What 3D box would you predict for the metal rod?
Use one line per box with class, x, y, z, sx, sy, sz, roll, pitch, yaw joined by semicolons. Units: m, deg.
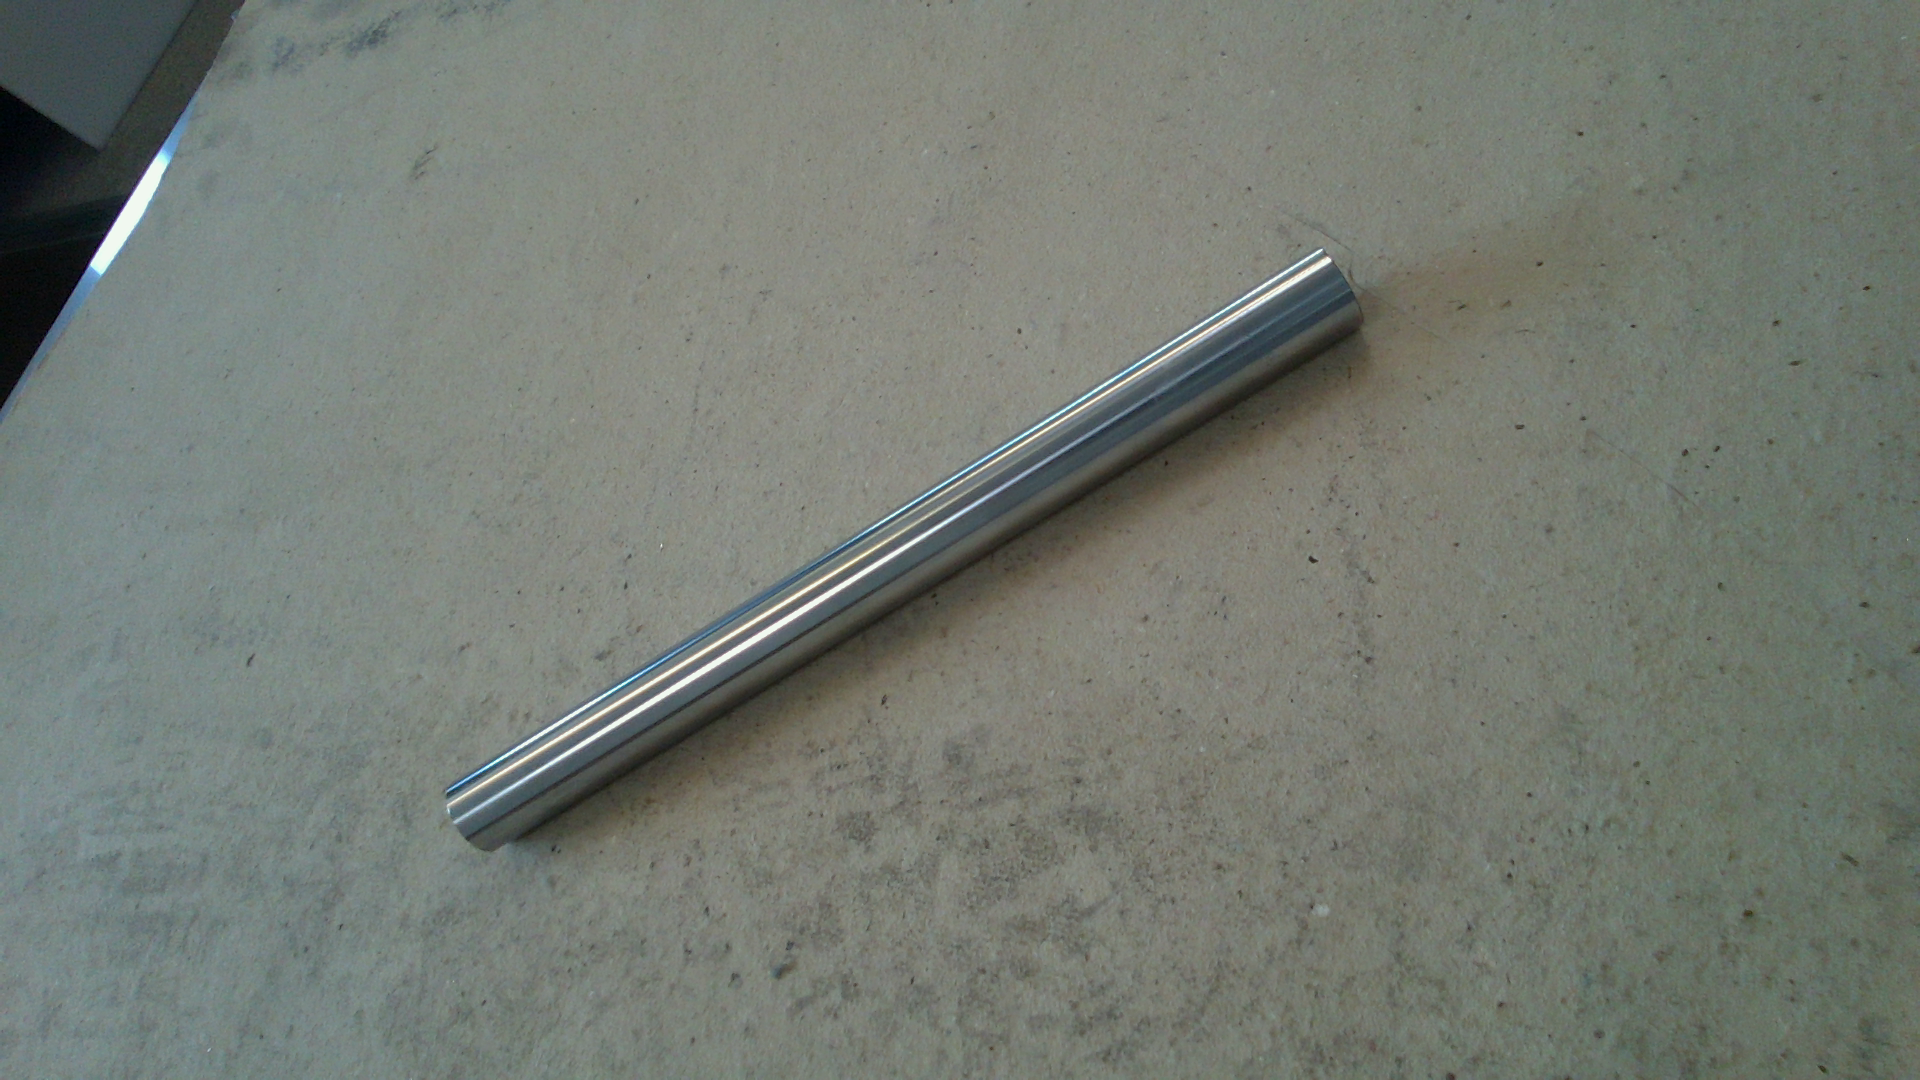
metal rod;-0.023;0.007;0.402;0.300;0.025;0.025;-31;51;8
